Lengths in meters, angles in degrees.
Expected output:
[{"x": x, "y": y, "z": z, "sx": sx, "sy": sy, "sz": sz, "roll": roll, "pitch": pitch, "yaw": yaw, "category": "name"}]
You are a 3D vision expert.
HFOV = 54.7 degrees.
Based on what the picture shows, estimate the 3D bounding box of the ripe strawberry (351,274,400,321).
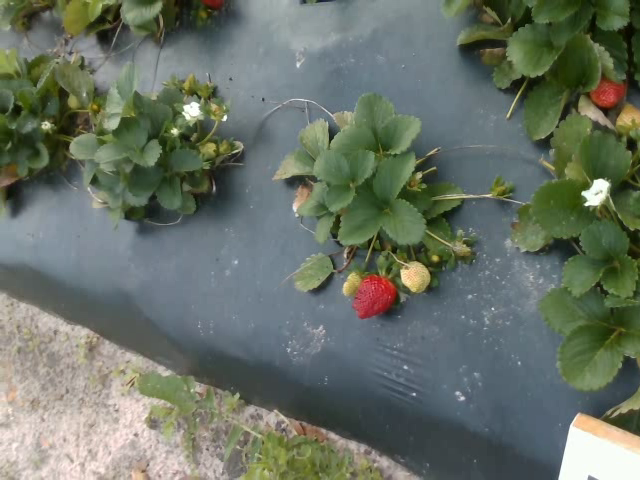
[{"x": 0.056, "y": 0.066, "z": 0.647, "sx": 0.046, "sy": 0.046, "sz": 0.059, "roll": 15, "pitch": 54, "yaw": 39, "category": "ripe strawberry"}]
